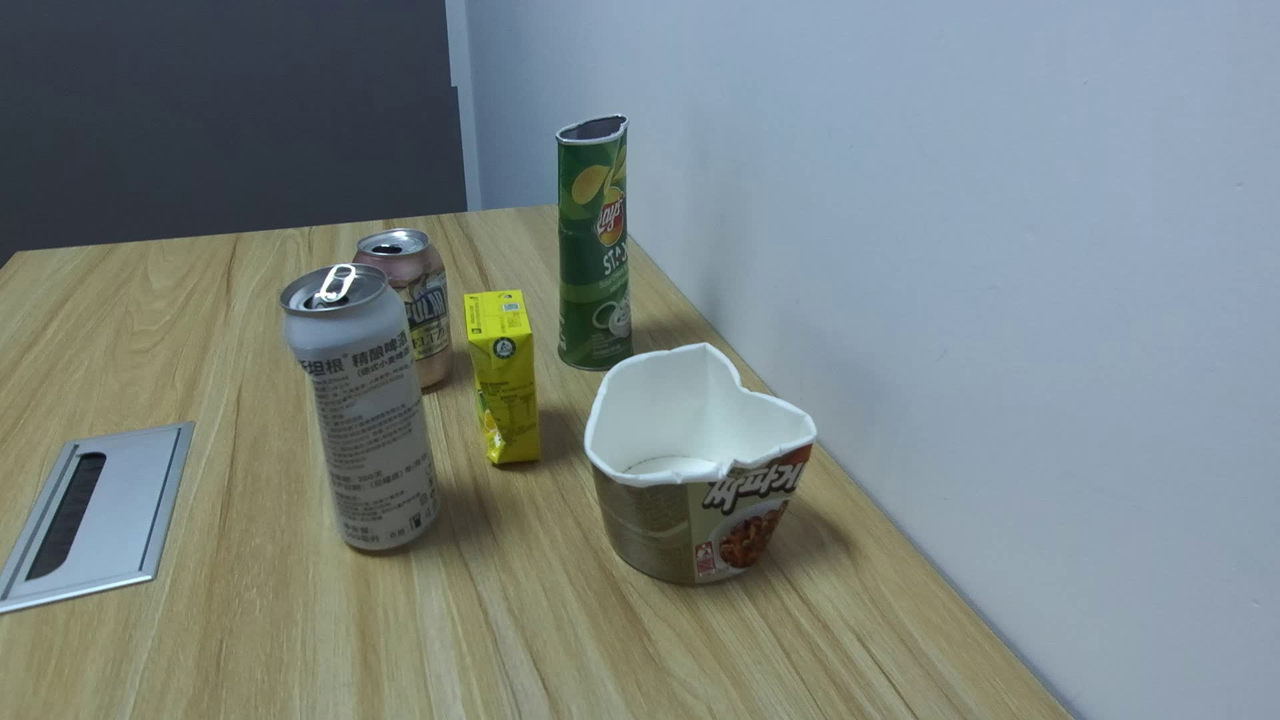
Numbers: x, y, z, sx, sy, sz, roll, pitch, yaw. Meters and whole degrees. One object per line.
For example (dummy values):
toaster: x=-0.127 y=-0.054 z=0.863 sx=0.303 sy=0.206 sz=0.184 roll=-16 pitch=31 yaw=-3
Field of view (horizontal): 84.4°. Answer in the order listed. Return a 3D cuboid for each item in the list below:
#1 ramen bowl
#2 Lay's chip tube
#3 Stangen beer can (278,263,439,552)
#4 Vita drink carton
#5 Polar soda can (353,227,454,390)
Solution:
ramen bowl: x=0.025 y=0.067 z=0.434 sx=0.134 sy=0.097 sz=0.113 roll=-18 pitch=39 yaw=-32
Lay's chip tube: x=-0.038 y=-0.093 z=0.593 sx=0.069 sy=0.199 sz=0.074 roll=-7 pitch=32 yaw=-14
Stangen beer can: x=-0.162 y=0.031 z=0.412 sx=0.069 sy=0.173 sz=0.070 roll=17 pitch=35 yaw=25
Vita drink carton: x=-0.097 y=0.015 z=0.504 sx=0.043 sy=0.109 sz=0.076 roll=-7 pitch=34 yaw=-12
Polar soda can: x=-0.195 y=-0.040 z=0.579 sx=0.074 sy=0.122 sz=0.067 roll=-6 pitch=33 yaw=-15
